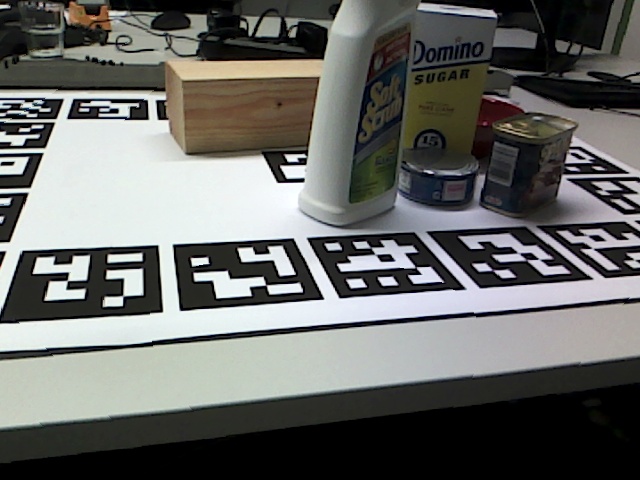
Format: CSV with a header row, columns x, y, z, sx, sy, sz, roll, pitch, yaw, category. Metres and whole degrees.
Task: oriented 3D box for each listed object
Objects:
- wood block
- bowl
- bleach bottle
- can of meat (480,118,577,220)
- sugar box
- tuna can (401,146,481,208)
x,y,z,sx,sy,sz,roll,pitch,yaw,category
-0.073,-0.167,0.762,0.205,0.090,0.091,-7,34,-23,wood block
0.187,-0.145,0.791,0.161,0.055,0.162,0,28,0,bowl
0.039,-0.143,0.555,0.102,0.250,0.068,-18,34,-36,bleach bottle
0.212,-0.075,0.637,0.101,0.083,0.058,-20,33,-41,can of meat
0.134,-0.159,0.672,0.093,0.176,0.045,4,29,7,sugar box
0.122,-0.066,0.647,0.086,0.033,0.086,3,31,-2,tuna can
